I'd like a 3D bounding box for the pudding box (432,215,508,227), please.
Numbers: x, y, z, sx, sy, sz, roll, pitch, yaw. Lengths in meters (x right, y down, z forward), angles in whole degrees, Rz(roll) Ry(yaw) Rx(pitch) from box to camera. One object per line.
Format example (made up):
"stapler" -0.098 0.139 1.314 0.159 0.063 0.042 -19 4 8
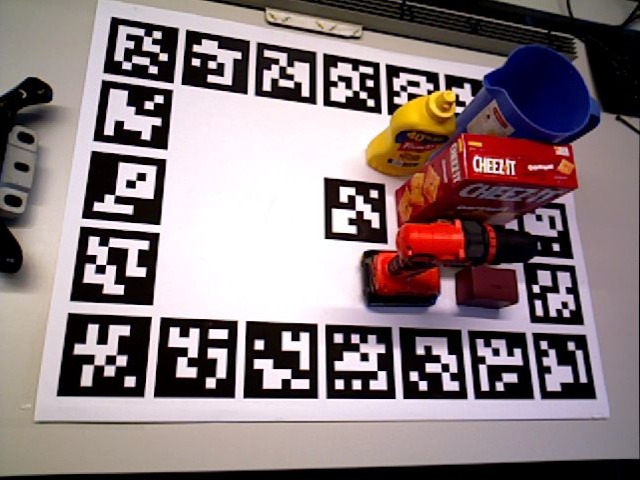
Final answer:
"pudding box" 0.204 -0.001 0.785 0.113 0.091 0.038 5 70 -11

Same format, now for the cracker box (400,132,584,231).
"cracker box" 0.226 -0.063 0.750 0.162 0.217 0.071 2 70 -12

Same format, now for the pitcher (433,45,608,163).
"pitcher" 0.272 -0.158 0.785 0.187 0.247 0.132 10 70 -10

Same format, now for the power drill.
"power drill" 0.163 0.031 0.689 0.182 0.191 0.057 4 68 -15

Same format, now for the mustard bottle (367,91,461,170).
"mustard bottle" 0.142 -0.166 0.764 0.095 0.195 0.058 18 70 -10

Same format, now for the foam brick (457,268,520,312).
"foam brick" 0.250 0.075 0.810 0.077 0.052 0.052 7 73 -13
